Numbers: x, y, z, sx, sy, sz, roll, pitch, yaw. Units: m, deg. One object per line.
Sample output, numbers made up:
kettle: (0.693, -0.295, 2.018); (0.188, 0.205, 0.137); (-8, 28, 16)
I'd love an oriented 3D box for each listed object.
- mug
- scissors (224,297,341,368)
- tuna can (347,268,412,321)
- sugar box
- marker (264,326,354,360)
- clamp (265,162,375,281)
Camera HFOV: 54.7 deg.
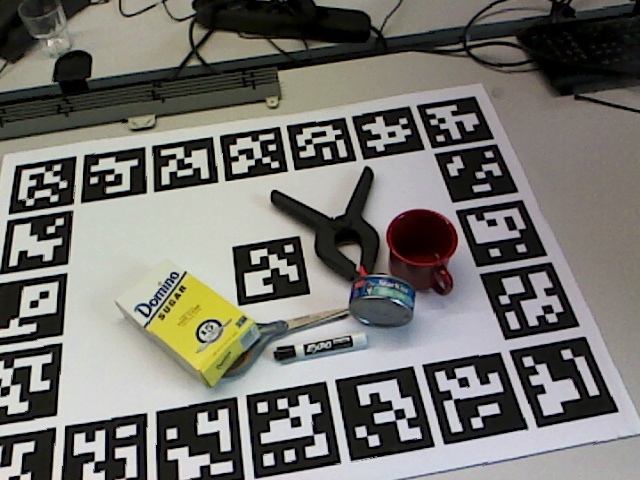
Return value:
mug: (0.128, 0.023, 0.854); (0.093, 0.081, 0.118); (-33, 57, -18)
scissors: (-0.067, 0.109, 0.838); (0.202, 0.016, 0.088); (-18, 53, -11)
tuna can: (0.078, 0.074, 0.817); (0.086, 0.085, 0.034); (5, 56, 6)
sugar box: (-0.177, 0.099, 0.831); (0.177, 0.045, 0.092); (34, 64, 30)
marker: (-0.015, 0.137, 0.819); (0.121, 0.019, 0.020); (-13, 57, -5)
clamp: (0.024, -0.020, 0.924); (0.165, 0.036, 0.204); (-18, 58, -9)
